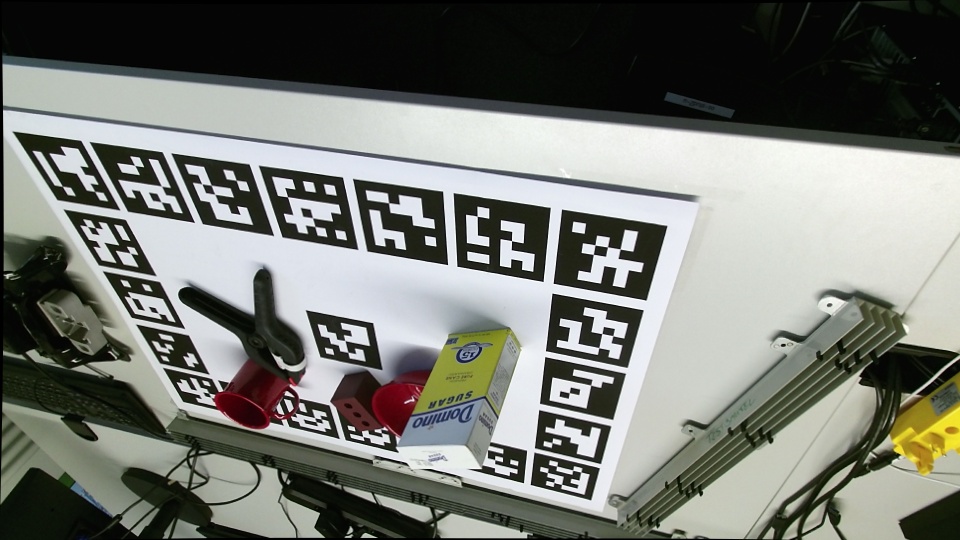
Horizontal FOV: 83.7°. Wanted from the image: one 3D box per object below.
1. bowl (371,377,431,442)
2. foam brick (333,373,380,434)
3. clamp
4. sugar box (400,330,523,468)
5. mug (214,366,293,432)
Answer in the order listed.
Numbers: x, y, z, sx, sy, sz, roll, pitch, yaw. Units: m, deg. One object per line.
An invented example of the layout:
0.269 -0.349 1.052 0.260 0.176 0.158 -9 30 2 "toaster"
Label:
-0.072 0.205 0.775 0.162 0.055 0.162 10 129 12 "bowl"
-0.184 0.204 0.822 0.053 0.051 0.078 -15 120 27 "foam brick"
-0.318 0.105 0.783 0.166 0.036 0.203 -12 121 24 "clamp"
-0.016 0.147 0.633 0.093 0.176 0.045 -12 120 28 "sugar box"
-0.354 0.212 0.854 0.117 0.081 0.093 31 130 -2 "mug"
